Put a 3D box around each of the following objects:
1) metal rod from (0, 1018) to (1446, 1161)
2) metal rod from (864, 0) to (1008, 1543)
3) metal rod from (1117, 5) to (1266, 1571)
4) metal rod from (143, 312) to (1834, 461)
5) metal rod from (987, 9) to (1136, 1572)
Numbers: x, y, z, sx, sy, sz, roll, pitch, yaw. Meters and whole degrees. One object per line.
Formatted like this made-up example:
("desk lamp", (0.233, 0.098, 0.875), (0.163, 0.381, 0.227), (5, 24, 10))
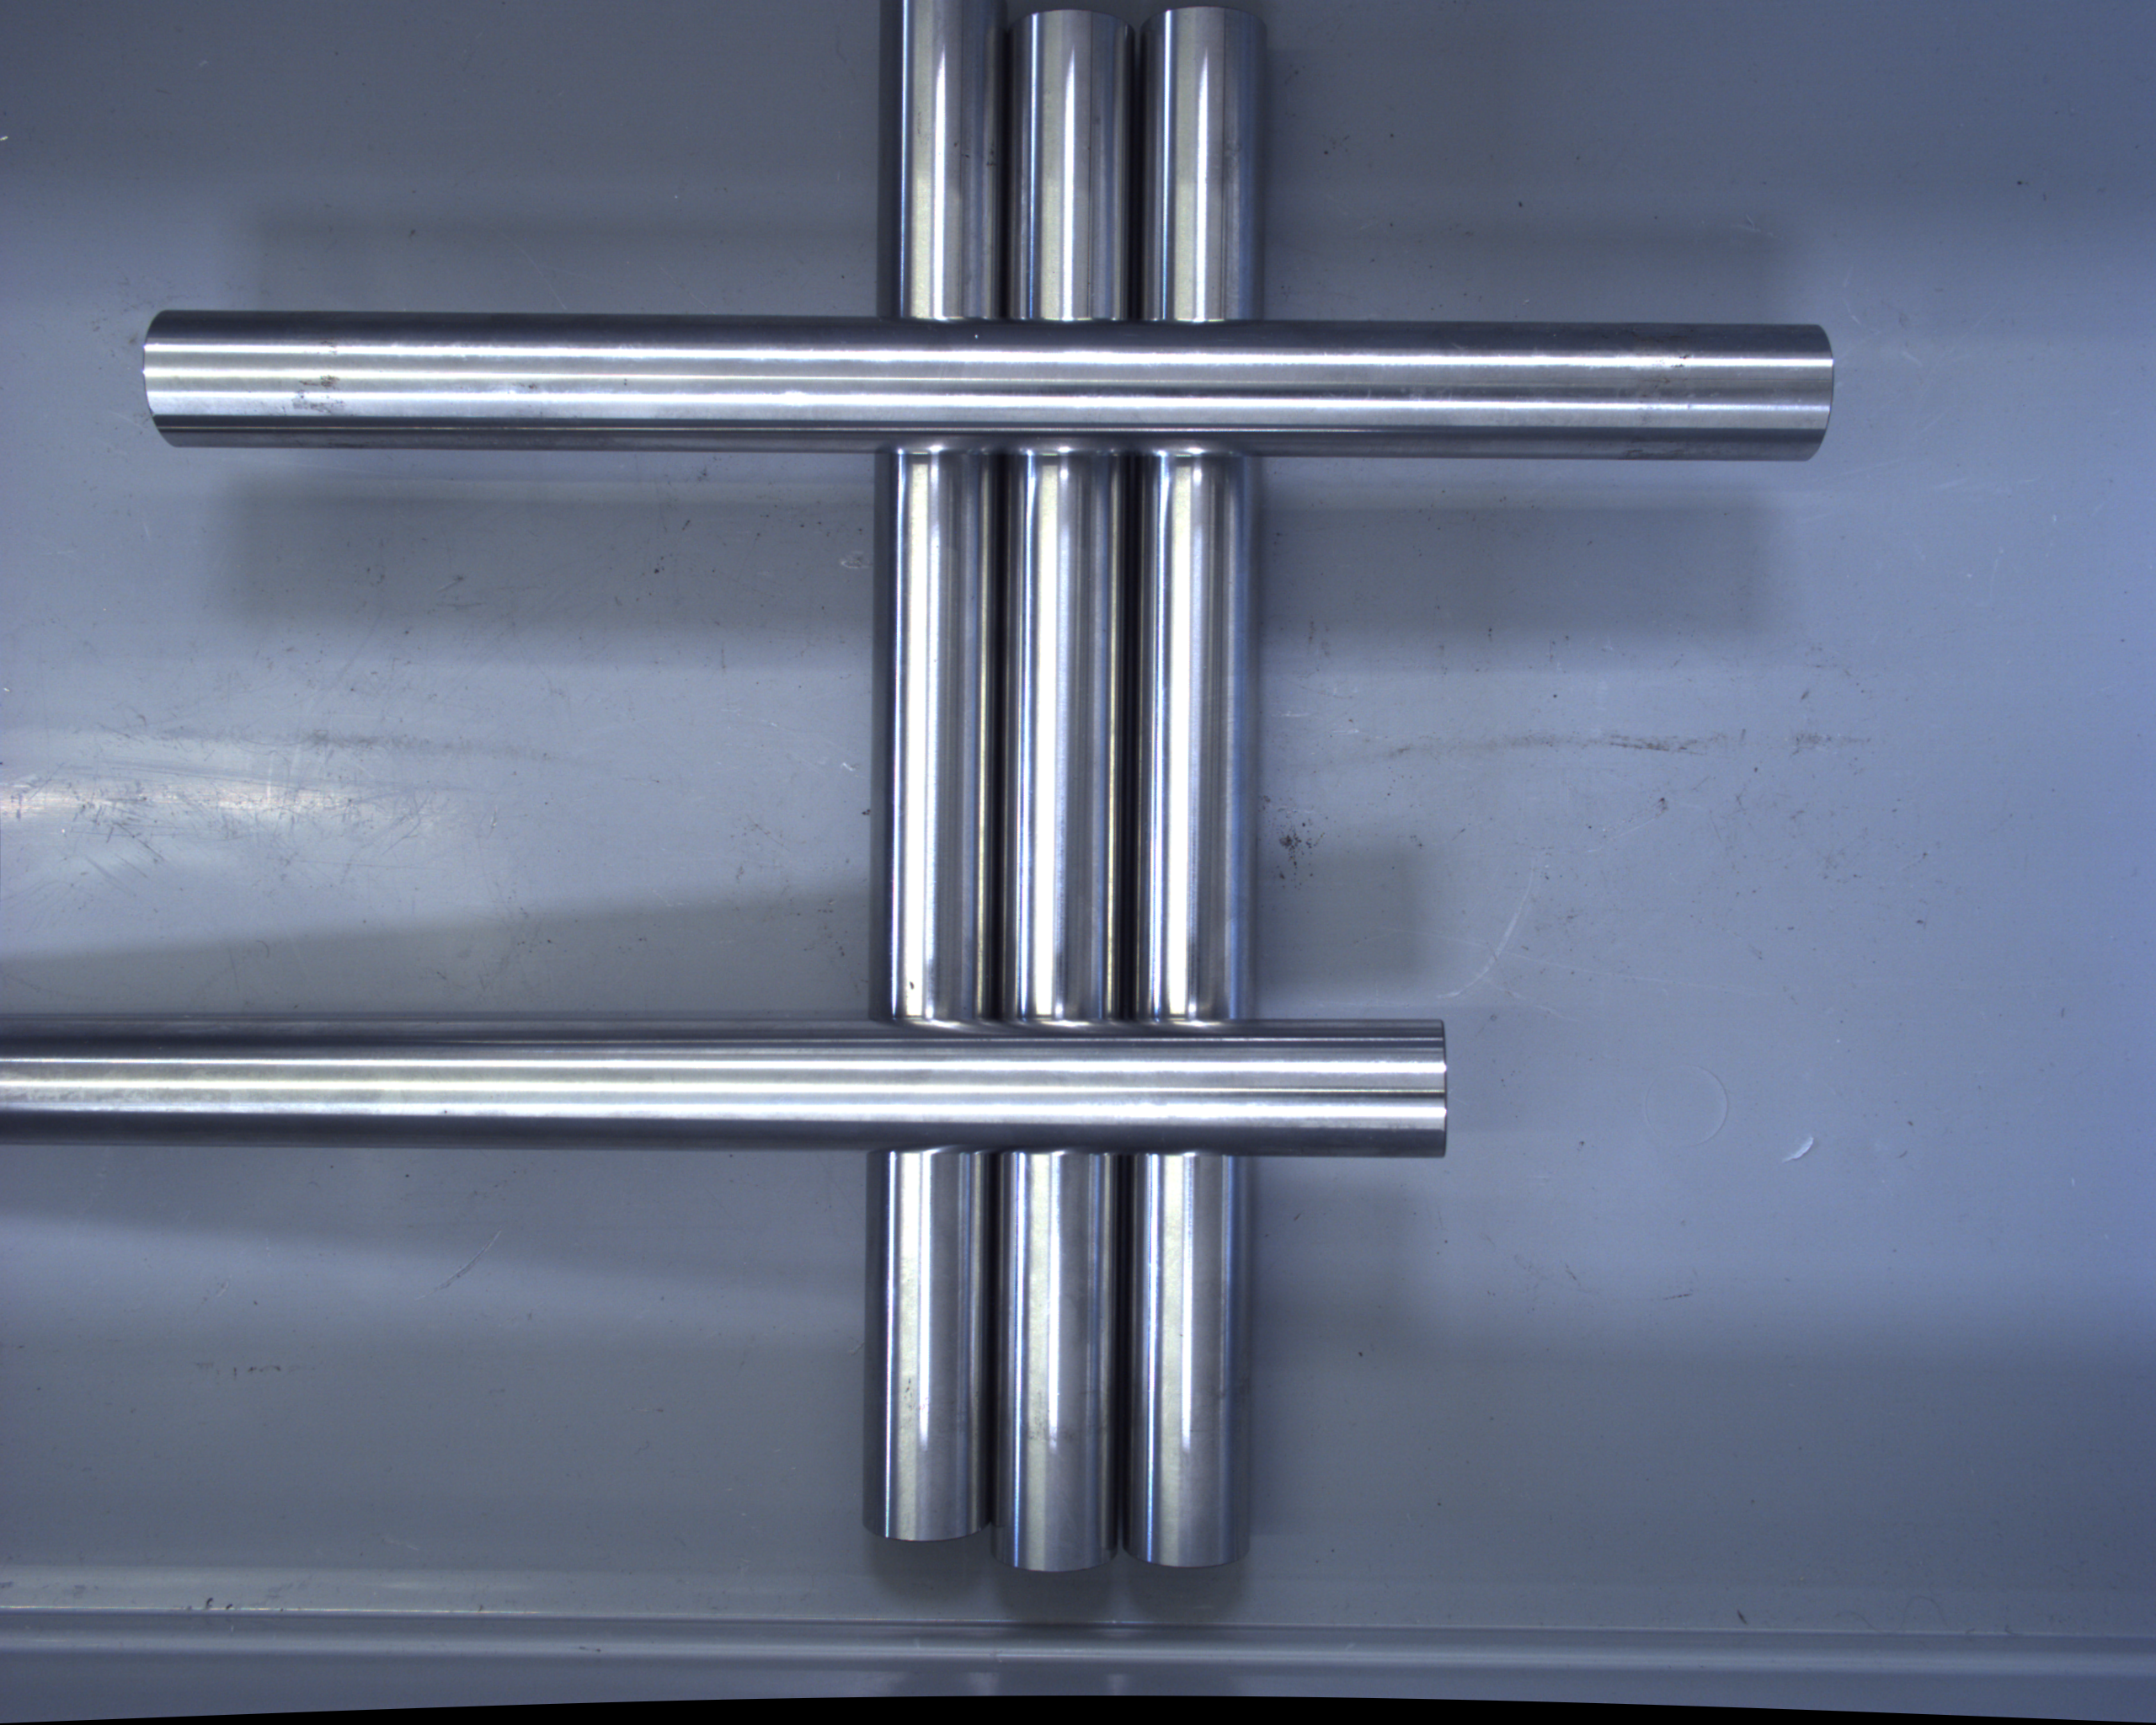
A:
("metal rod", (-0.084, 0.042, 0.391), (0.302, 0.025, 0.025), (0, 90, 7))
("metal rod", (-0.028, -0.019, 0.410), (0.025, 0.025, 0.298), (1, 90, 0))
("metal rod", (0.022, -0.014, 0.410), (0.025, 0.025, 0.298), (1, 90, 0))
("metal rod", (-0.016, -0.088, 0.385), (0.302, 0.025, 0.025), (0, 90, 0))
("metal rod", (-0.003, -0.014, 0.410), (0.025, 0.025, 0.298), (1, 90, 0))
